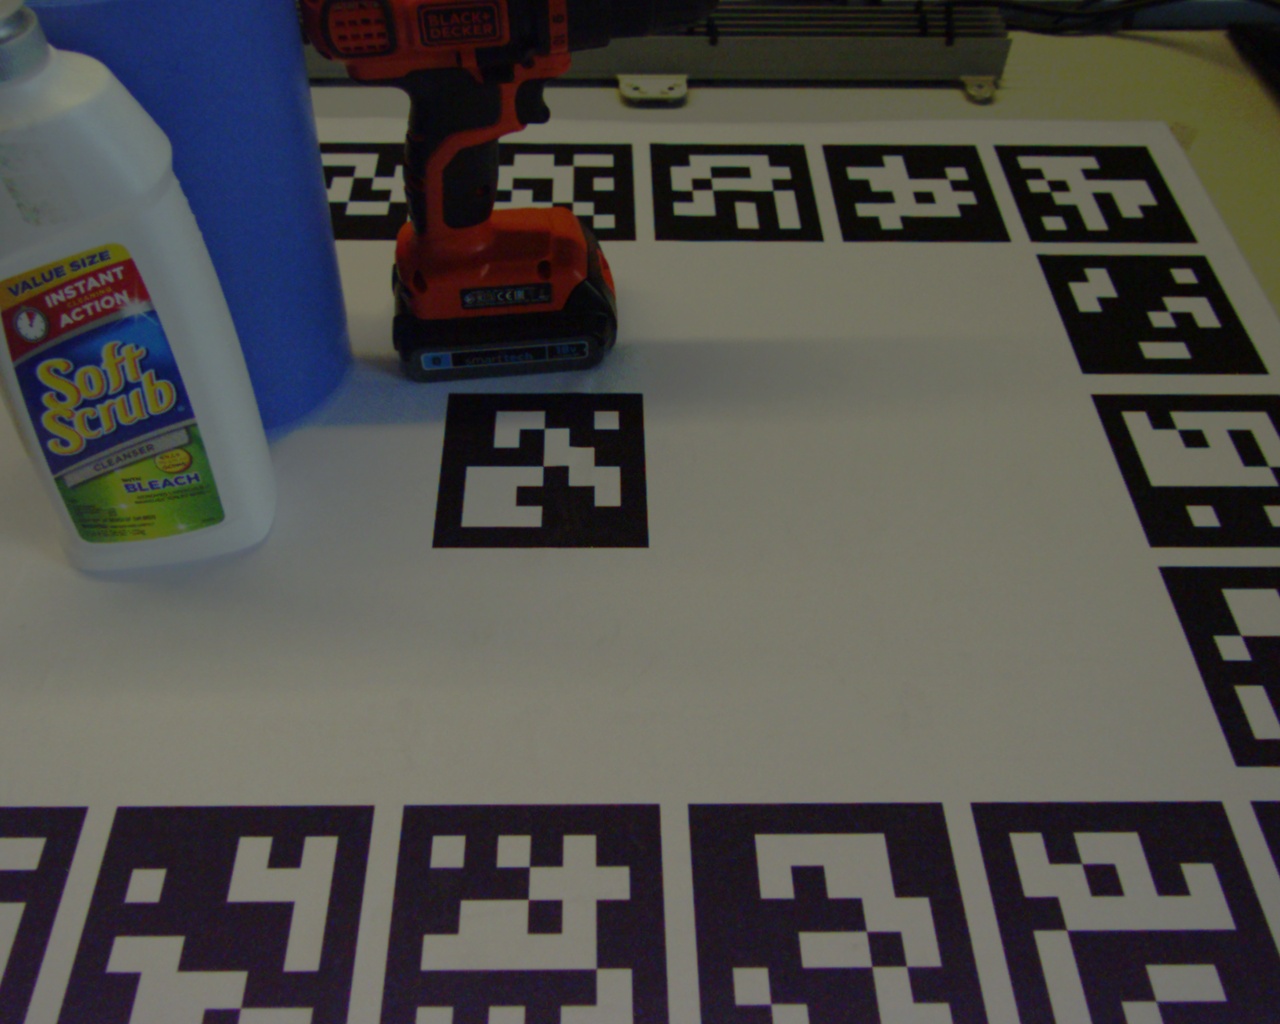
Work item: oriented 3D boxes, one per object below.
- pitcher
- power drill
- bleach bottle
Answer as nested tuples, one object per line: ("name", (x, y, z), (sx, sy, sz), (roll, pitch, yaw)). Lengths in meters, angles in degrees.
("pitcher", (-0.213, -0.157, 0.535), (0.187, 0.242, 0.134), (-22, 58, -17))
("power drill", (-0.046, -0.166, 0.557), (0.184, 0.187, 0.057), (-1, 56, -10))
("bleach bottle", (-0.221, -0.088, 0.457), (0.102, 0.250, 0.068), (-6, 54, -6))
